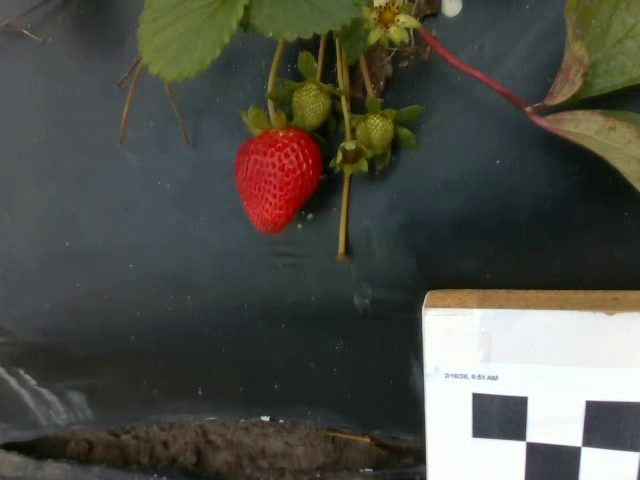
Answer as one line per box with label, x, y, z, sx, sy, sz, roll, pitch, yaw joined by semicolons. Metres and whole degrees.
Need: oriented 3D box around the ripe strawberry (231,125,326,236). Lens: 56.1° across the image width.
ripe strawberry;-0.006;-0.007;0.077;0.018;0.017;0.014;1;-24;5
